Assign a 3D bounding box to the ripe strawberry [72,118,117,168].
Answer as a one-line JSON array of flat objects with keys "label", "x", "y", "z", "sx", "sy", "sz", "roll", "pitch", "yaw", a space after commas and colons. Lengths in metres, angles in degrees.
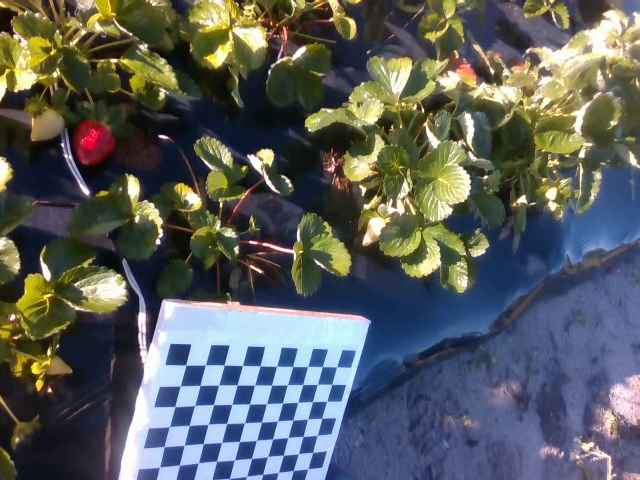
[{"label": "ripe strawberry", "x": -0.278, "y": -0.122, "z": 0.766, "sx": 0.040, "sy": 0.080, "sz": 0.063, "roll": -20, "pitch": -46, "yaw": 26}]
